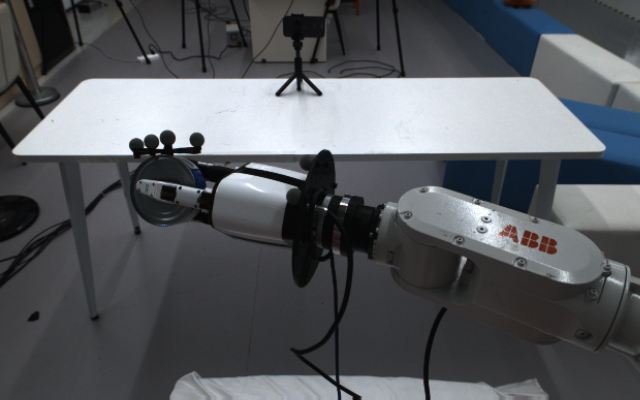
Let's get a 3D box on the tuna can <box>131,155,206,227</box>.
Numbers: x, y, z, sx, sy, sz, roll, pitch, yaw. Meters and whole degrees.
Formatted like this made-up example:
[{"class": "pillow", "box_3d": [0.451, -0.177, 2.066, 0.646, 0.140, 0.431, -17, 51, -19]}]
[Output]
[{"class": "tuna can", "box_3d": [-0.179, -0.010, 0.589, 0.085, 0.085, 0.034, 10, 2, 11]}]
